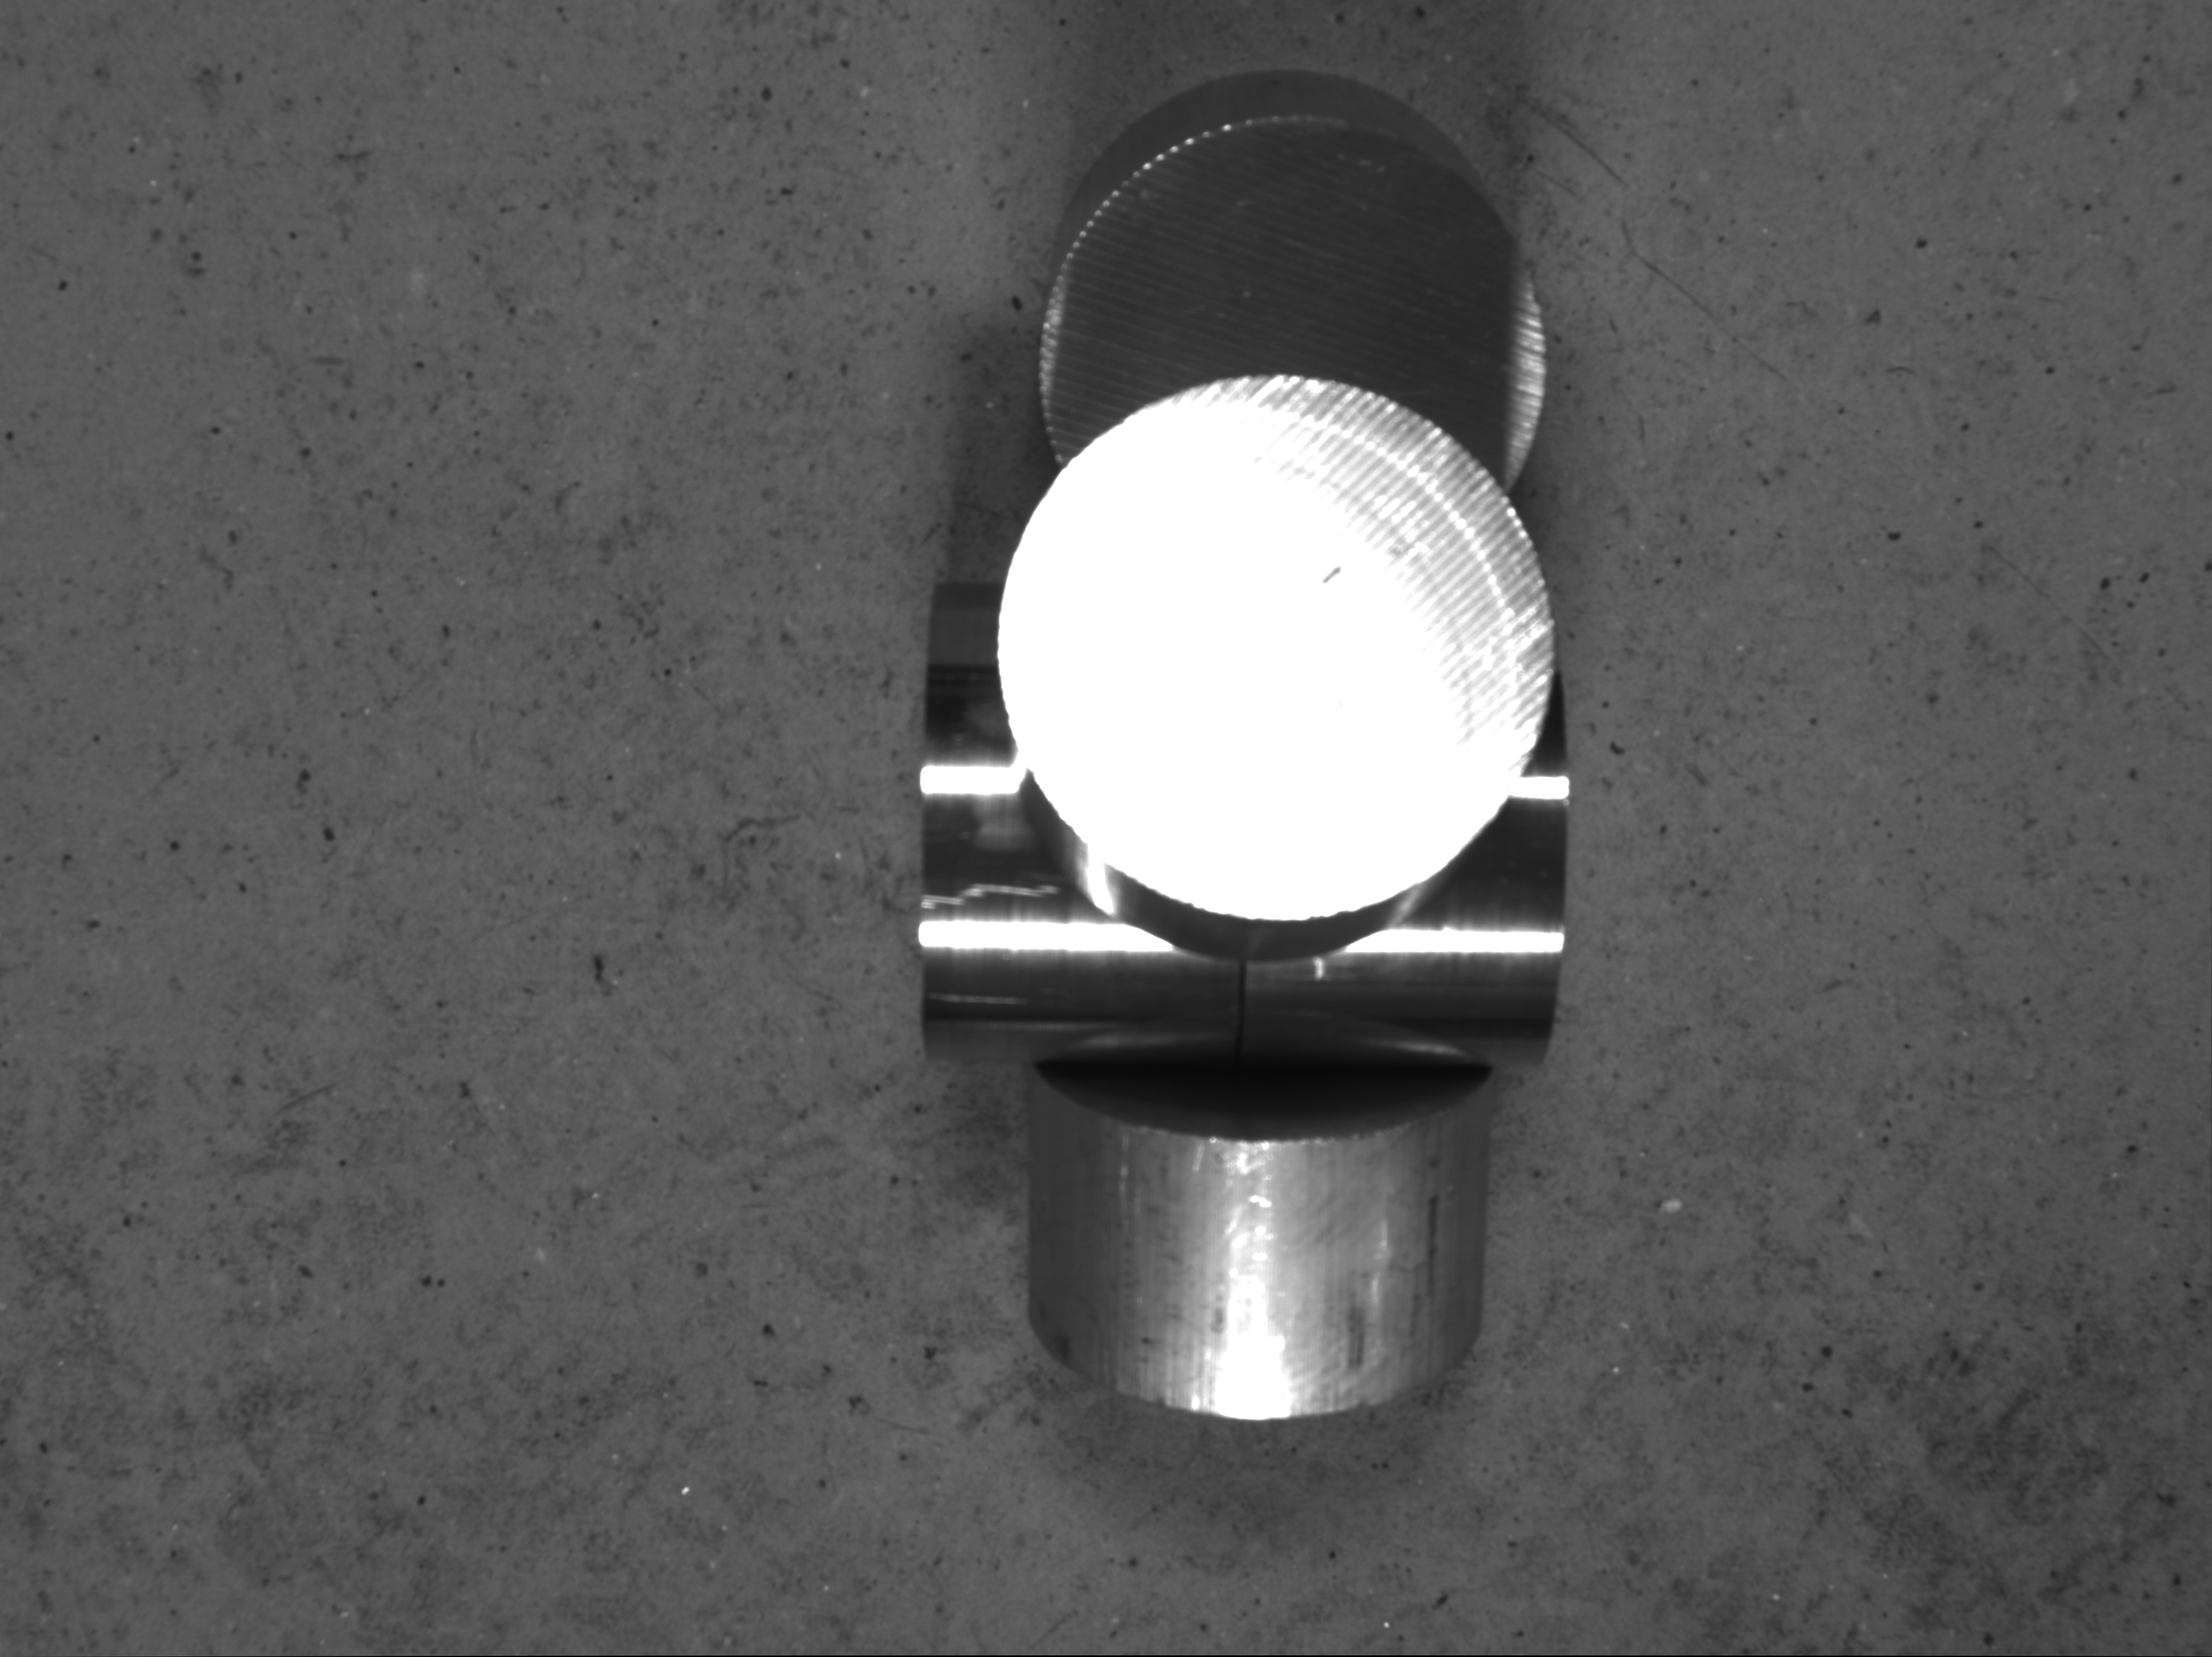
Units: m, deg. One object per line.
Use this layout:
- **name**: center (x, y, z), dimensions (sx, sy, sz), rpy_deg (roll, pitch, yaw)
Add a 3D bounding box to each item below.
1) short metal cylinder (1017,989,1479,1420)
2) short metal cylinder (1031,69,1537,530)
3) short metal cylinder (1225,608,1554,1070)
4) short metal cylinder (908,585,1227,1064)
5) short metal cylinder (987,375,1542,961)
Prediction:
- **short metal cylinder**: center (0.024, 0.061, 0.637), dimensions (0.080, 0.080, 0.050), rpy_deg (0, 110, -1)
- **short metal cylinder**: center (0.028, -0.081, 0.602), dimensions (0.080, 0.050, 0.080), rpy_deg (0, 110, -1)
- **short metal cylinder**: center (0.046, 0.000, 0.614), dimensions (0.050, 0.080, 0.080), rpy_deg (0, 110, 0)
- **short metal cylinder**: center (-0.006, -0.001, 0.614), dimensions (0.050, 0.080, 0.080), rpy_deg (1, 110, -1)
- **short metal cylinder**: center (0.023, -0.023, 0.552), dimensions (0.080, 0.050, 0.080), rpy_deg (0, 81, -1)
